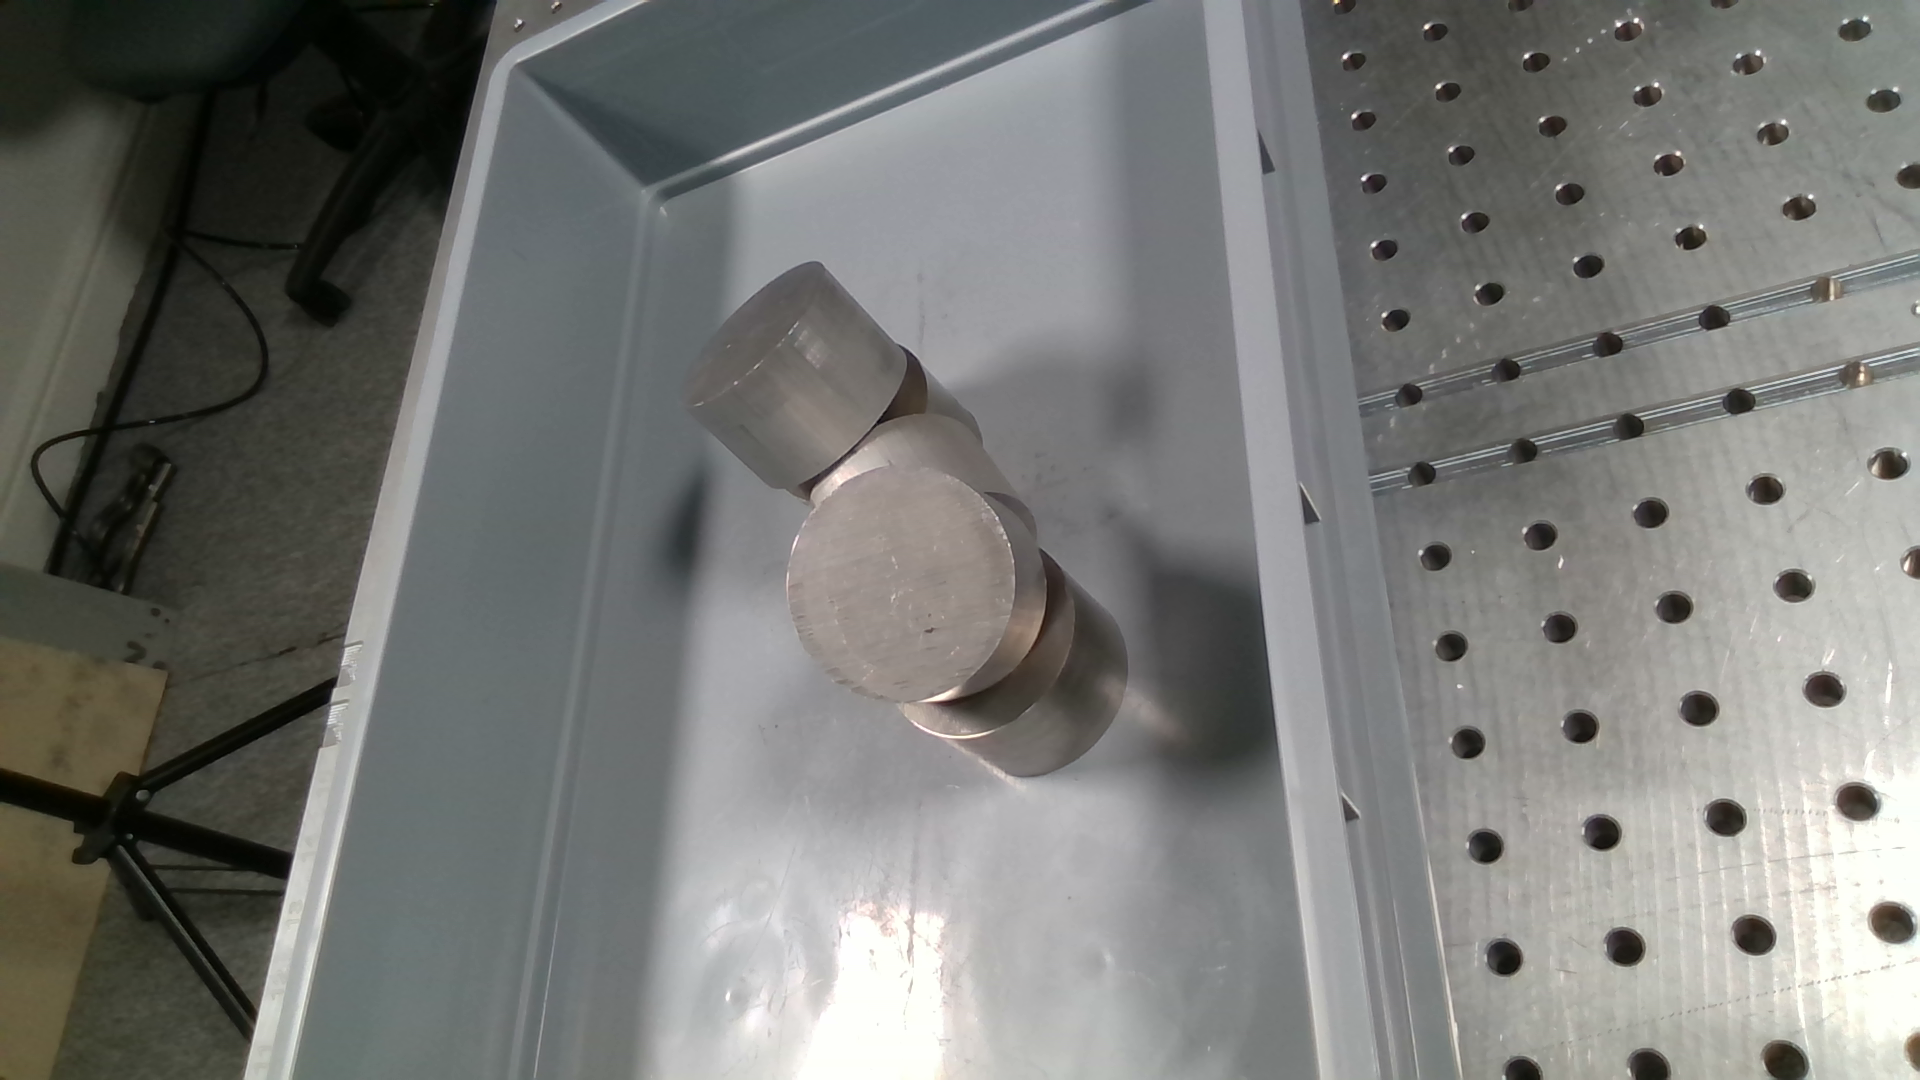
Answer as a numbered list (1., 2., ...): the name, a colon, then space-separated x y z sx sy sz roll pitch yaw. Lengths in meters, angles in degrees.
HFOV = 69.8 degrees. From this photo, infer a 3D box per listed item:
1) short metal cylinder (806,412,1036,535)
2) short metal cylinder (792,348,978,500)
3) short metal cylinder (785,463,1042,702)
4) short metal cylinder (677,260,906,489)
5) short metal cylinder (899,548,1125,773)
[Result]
1. short metal cylinder: -0.016 -0.005 0.561 0.080 0.080 0.050 -40 51 8
2. short metal cylinder: -0.038 -0.042 0.613 0.080 0.050 0.080 -14 59 25
3. short metal cylinder: -0.015 0.016 0.484 0.080 0.050 0.080 -2 84 15
4. short metal cylinder: -0.069 -0.068 0.563 0.080 0.050 0.080 -33 30 22
5. short metal cylinder: 0.018 0.045 0.533 0.080 0.050 0.080 -14 59 25
